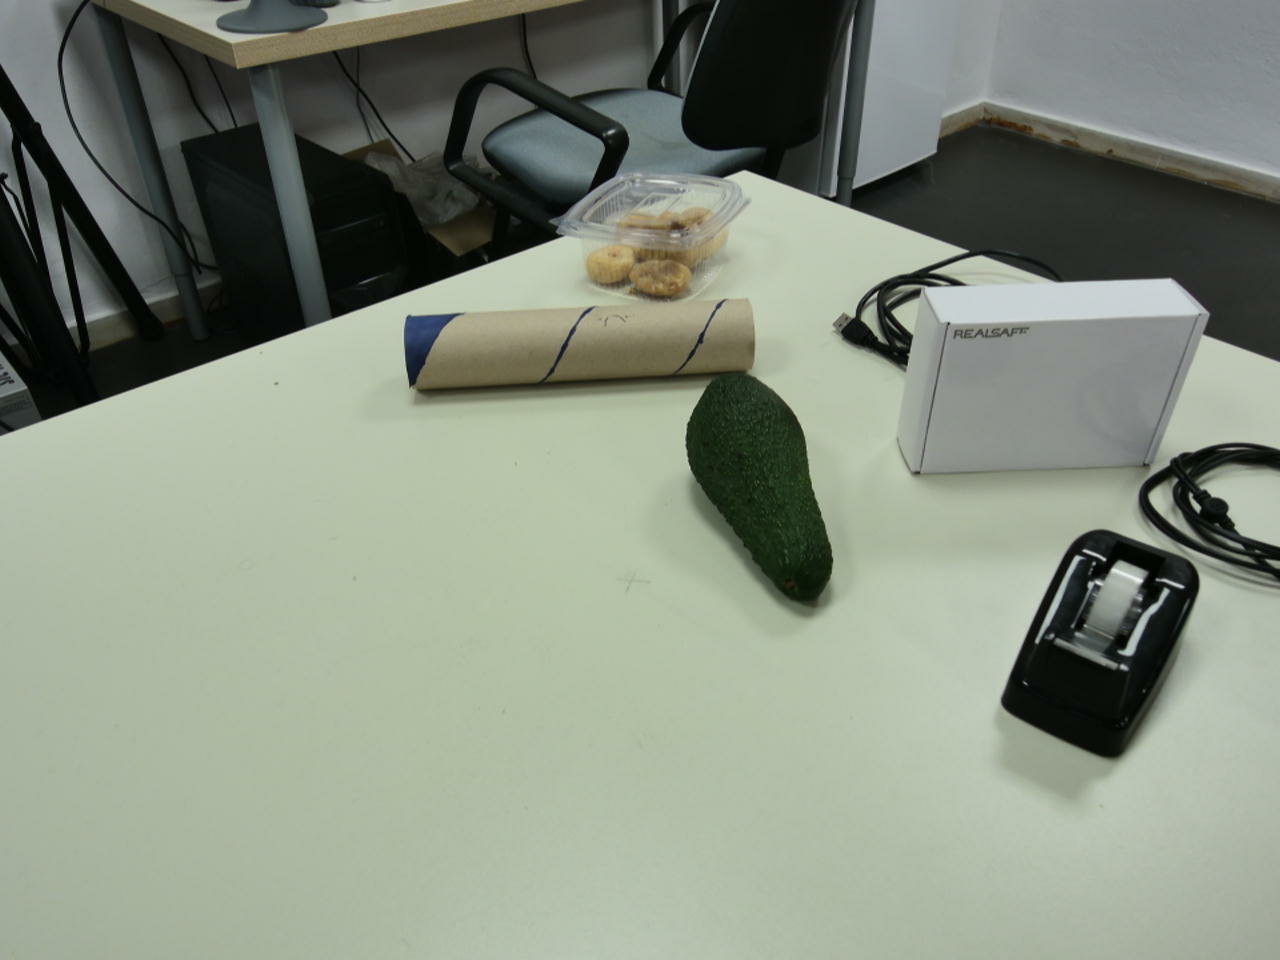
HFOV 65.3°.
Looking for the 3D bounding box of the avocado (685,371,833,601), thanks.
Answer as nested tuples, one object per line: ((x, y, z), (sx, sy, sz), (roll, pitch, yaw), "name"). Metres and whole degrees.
((0.068, -0.005, 0.516), (0.063, 0.067, 0.141), (-16, 38, -19), "avocado")
